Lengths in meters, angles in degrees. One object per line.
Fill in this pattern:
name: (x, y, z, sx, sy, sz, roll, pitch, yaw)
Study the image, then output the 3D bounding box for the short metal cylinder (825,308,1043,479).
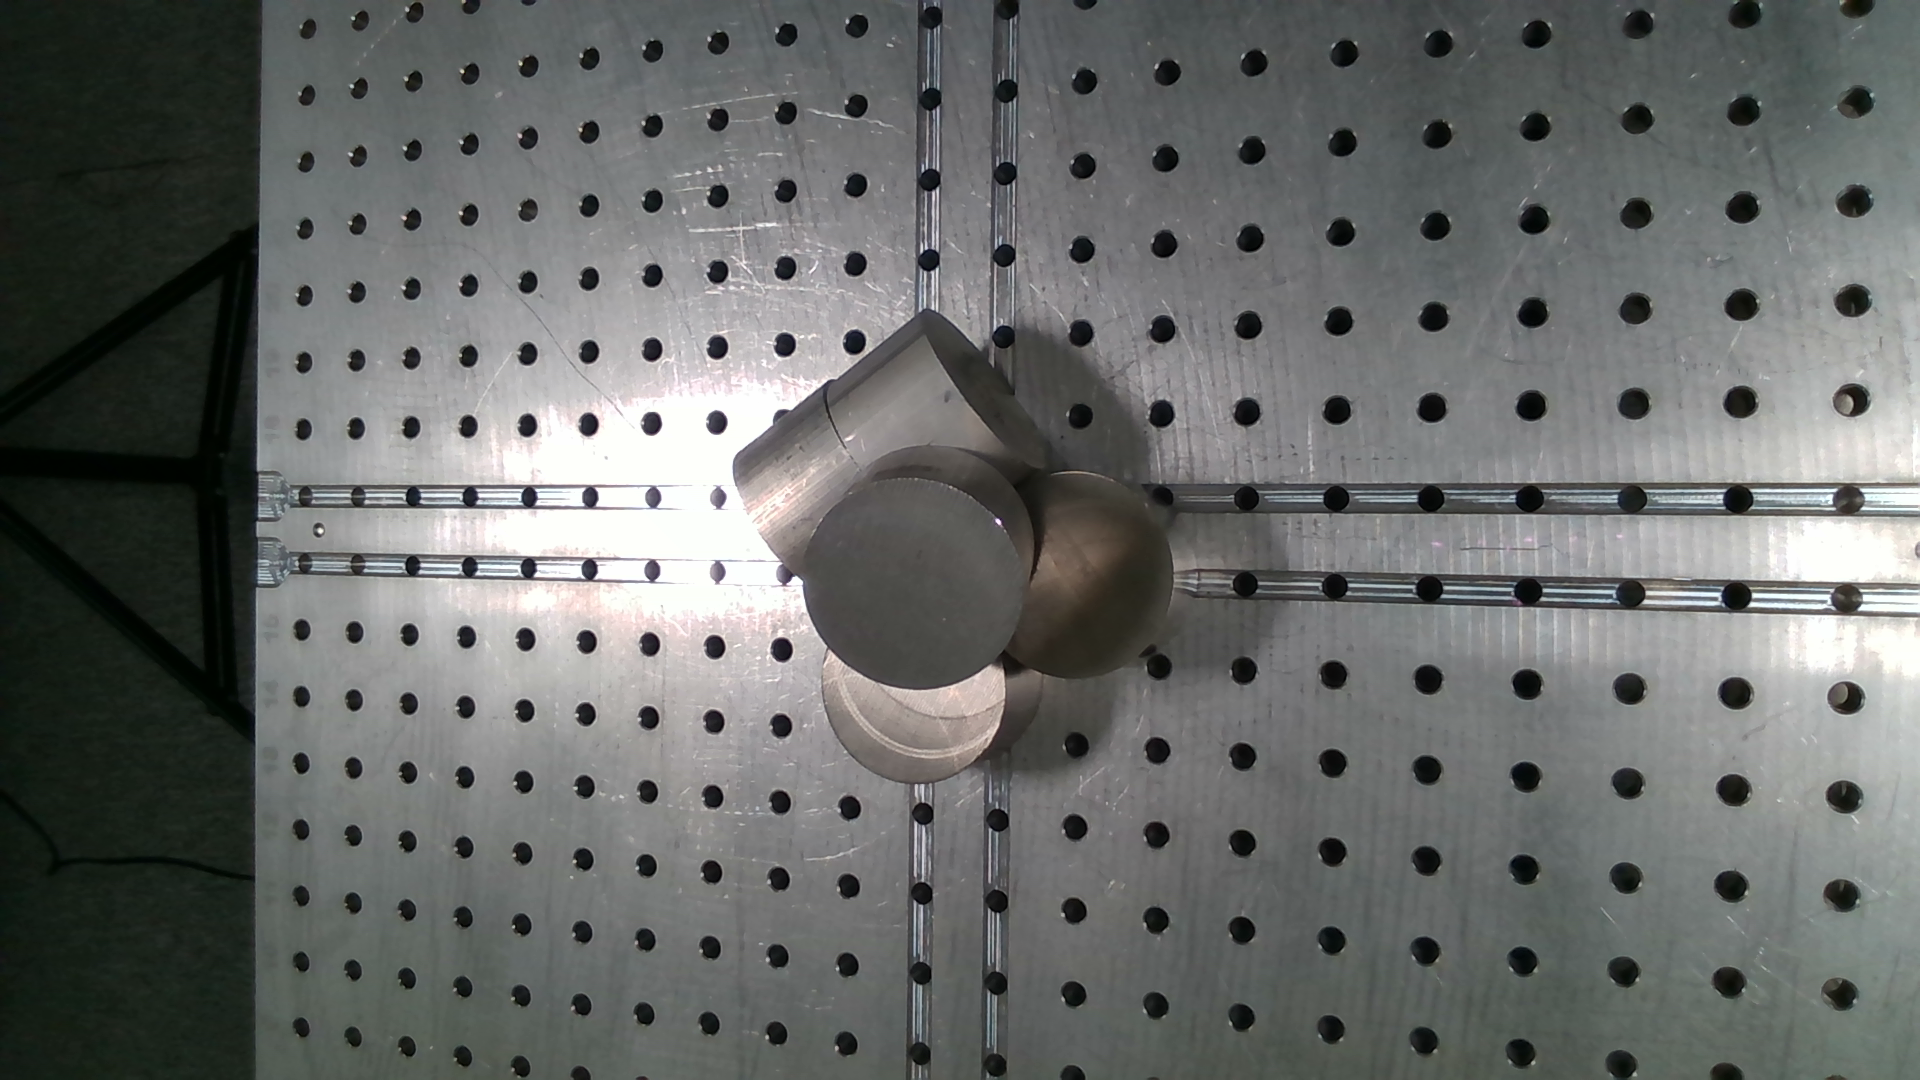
short metal cylinder: (-0.010, -0.047, 0.562, 0.050, 0.080, 0.080, -36, 79, 17)

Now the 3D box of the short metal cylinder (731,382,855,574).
short metal cylinder: (-0.050, -0.020, 0.577, 0.050, 0.080, 0.080, -36, 79, 17)

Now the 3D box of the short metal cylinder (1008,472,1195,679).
short metal cylinder: (0.051, 0.013, 0.555, 0.080, 0.050, 0.080, 0, 90, 20)

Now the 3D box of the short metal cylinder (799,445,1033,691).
short metal cylinder: (-0.015, 0.009, 0.512, 0.080, 0.050, 0.080, 2, 108, 7)

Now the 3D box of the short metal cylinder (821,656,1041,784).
short metal cylinder: (-0.011, 0.058, 0.579, 0.080, 0.050, 0.080, 0, 90, 20)
